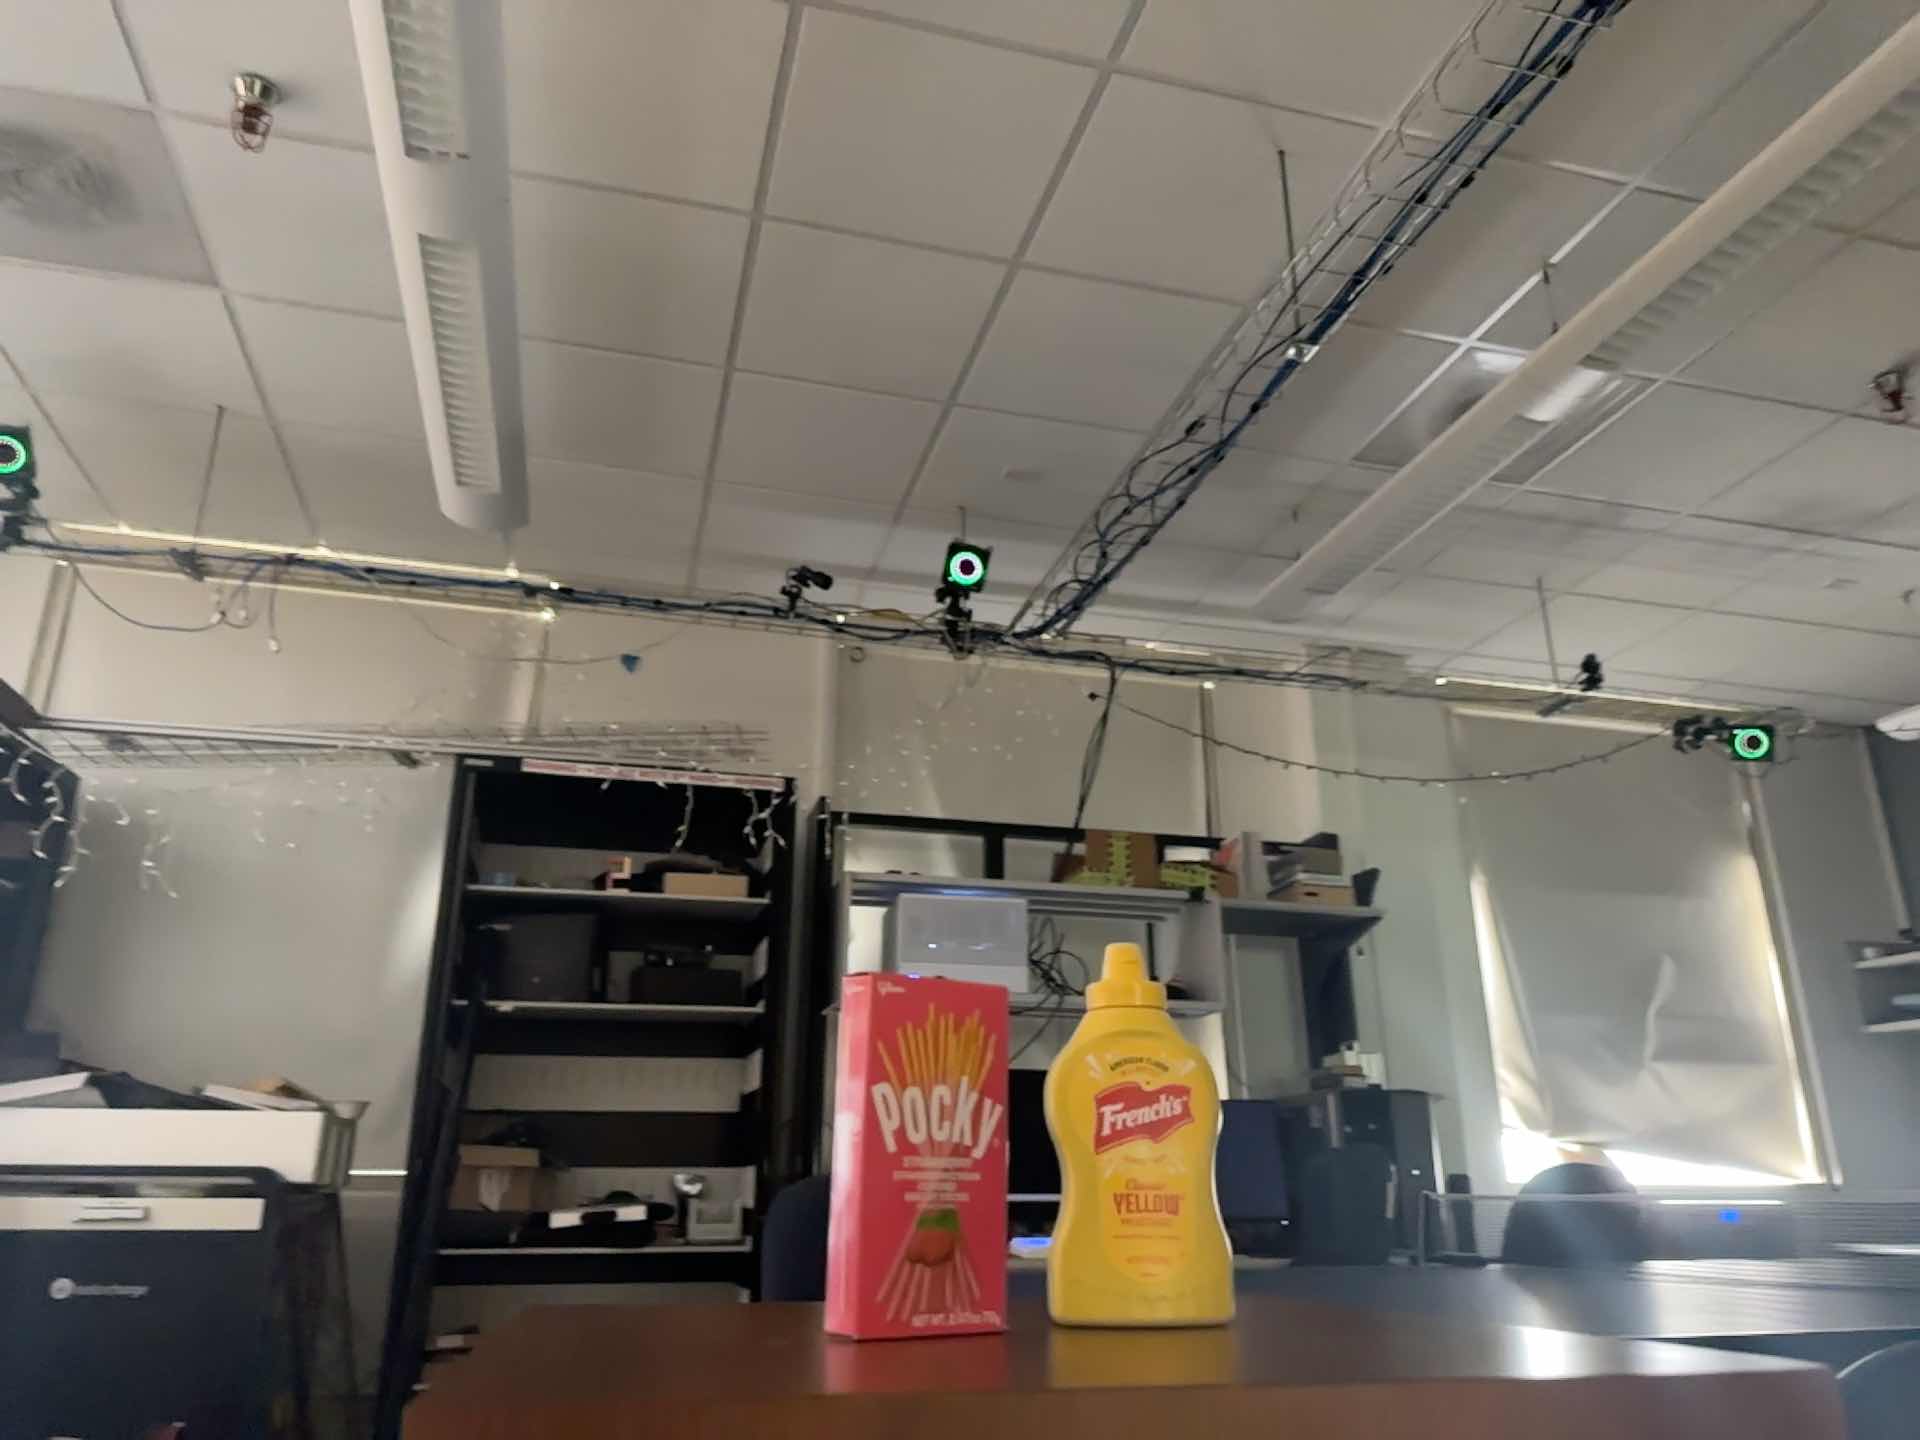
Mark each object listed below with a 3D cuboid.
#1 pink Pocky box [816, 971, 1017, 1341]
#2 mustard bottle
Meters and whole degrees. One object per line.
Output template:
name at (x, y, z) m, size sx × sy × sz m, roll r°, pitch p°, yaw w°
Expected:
pink Pocky box at (-0.017, 0.195, 0.611) m, size 0.084 × 0.154 × 0.029 m, roll 12°, pitch -20°, yaw -27°
mustard bottle at (0.086, 0.200, 0.670) m, size 0.092 × 0.184 × 0.054 m, roll 3°, pitch -14°, yaw -8°
